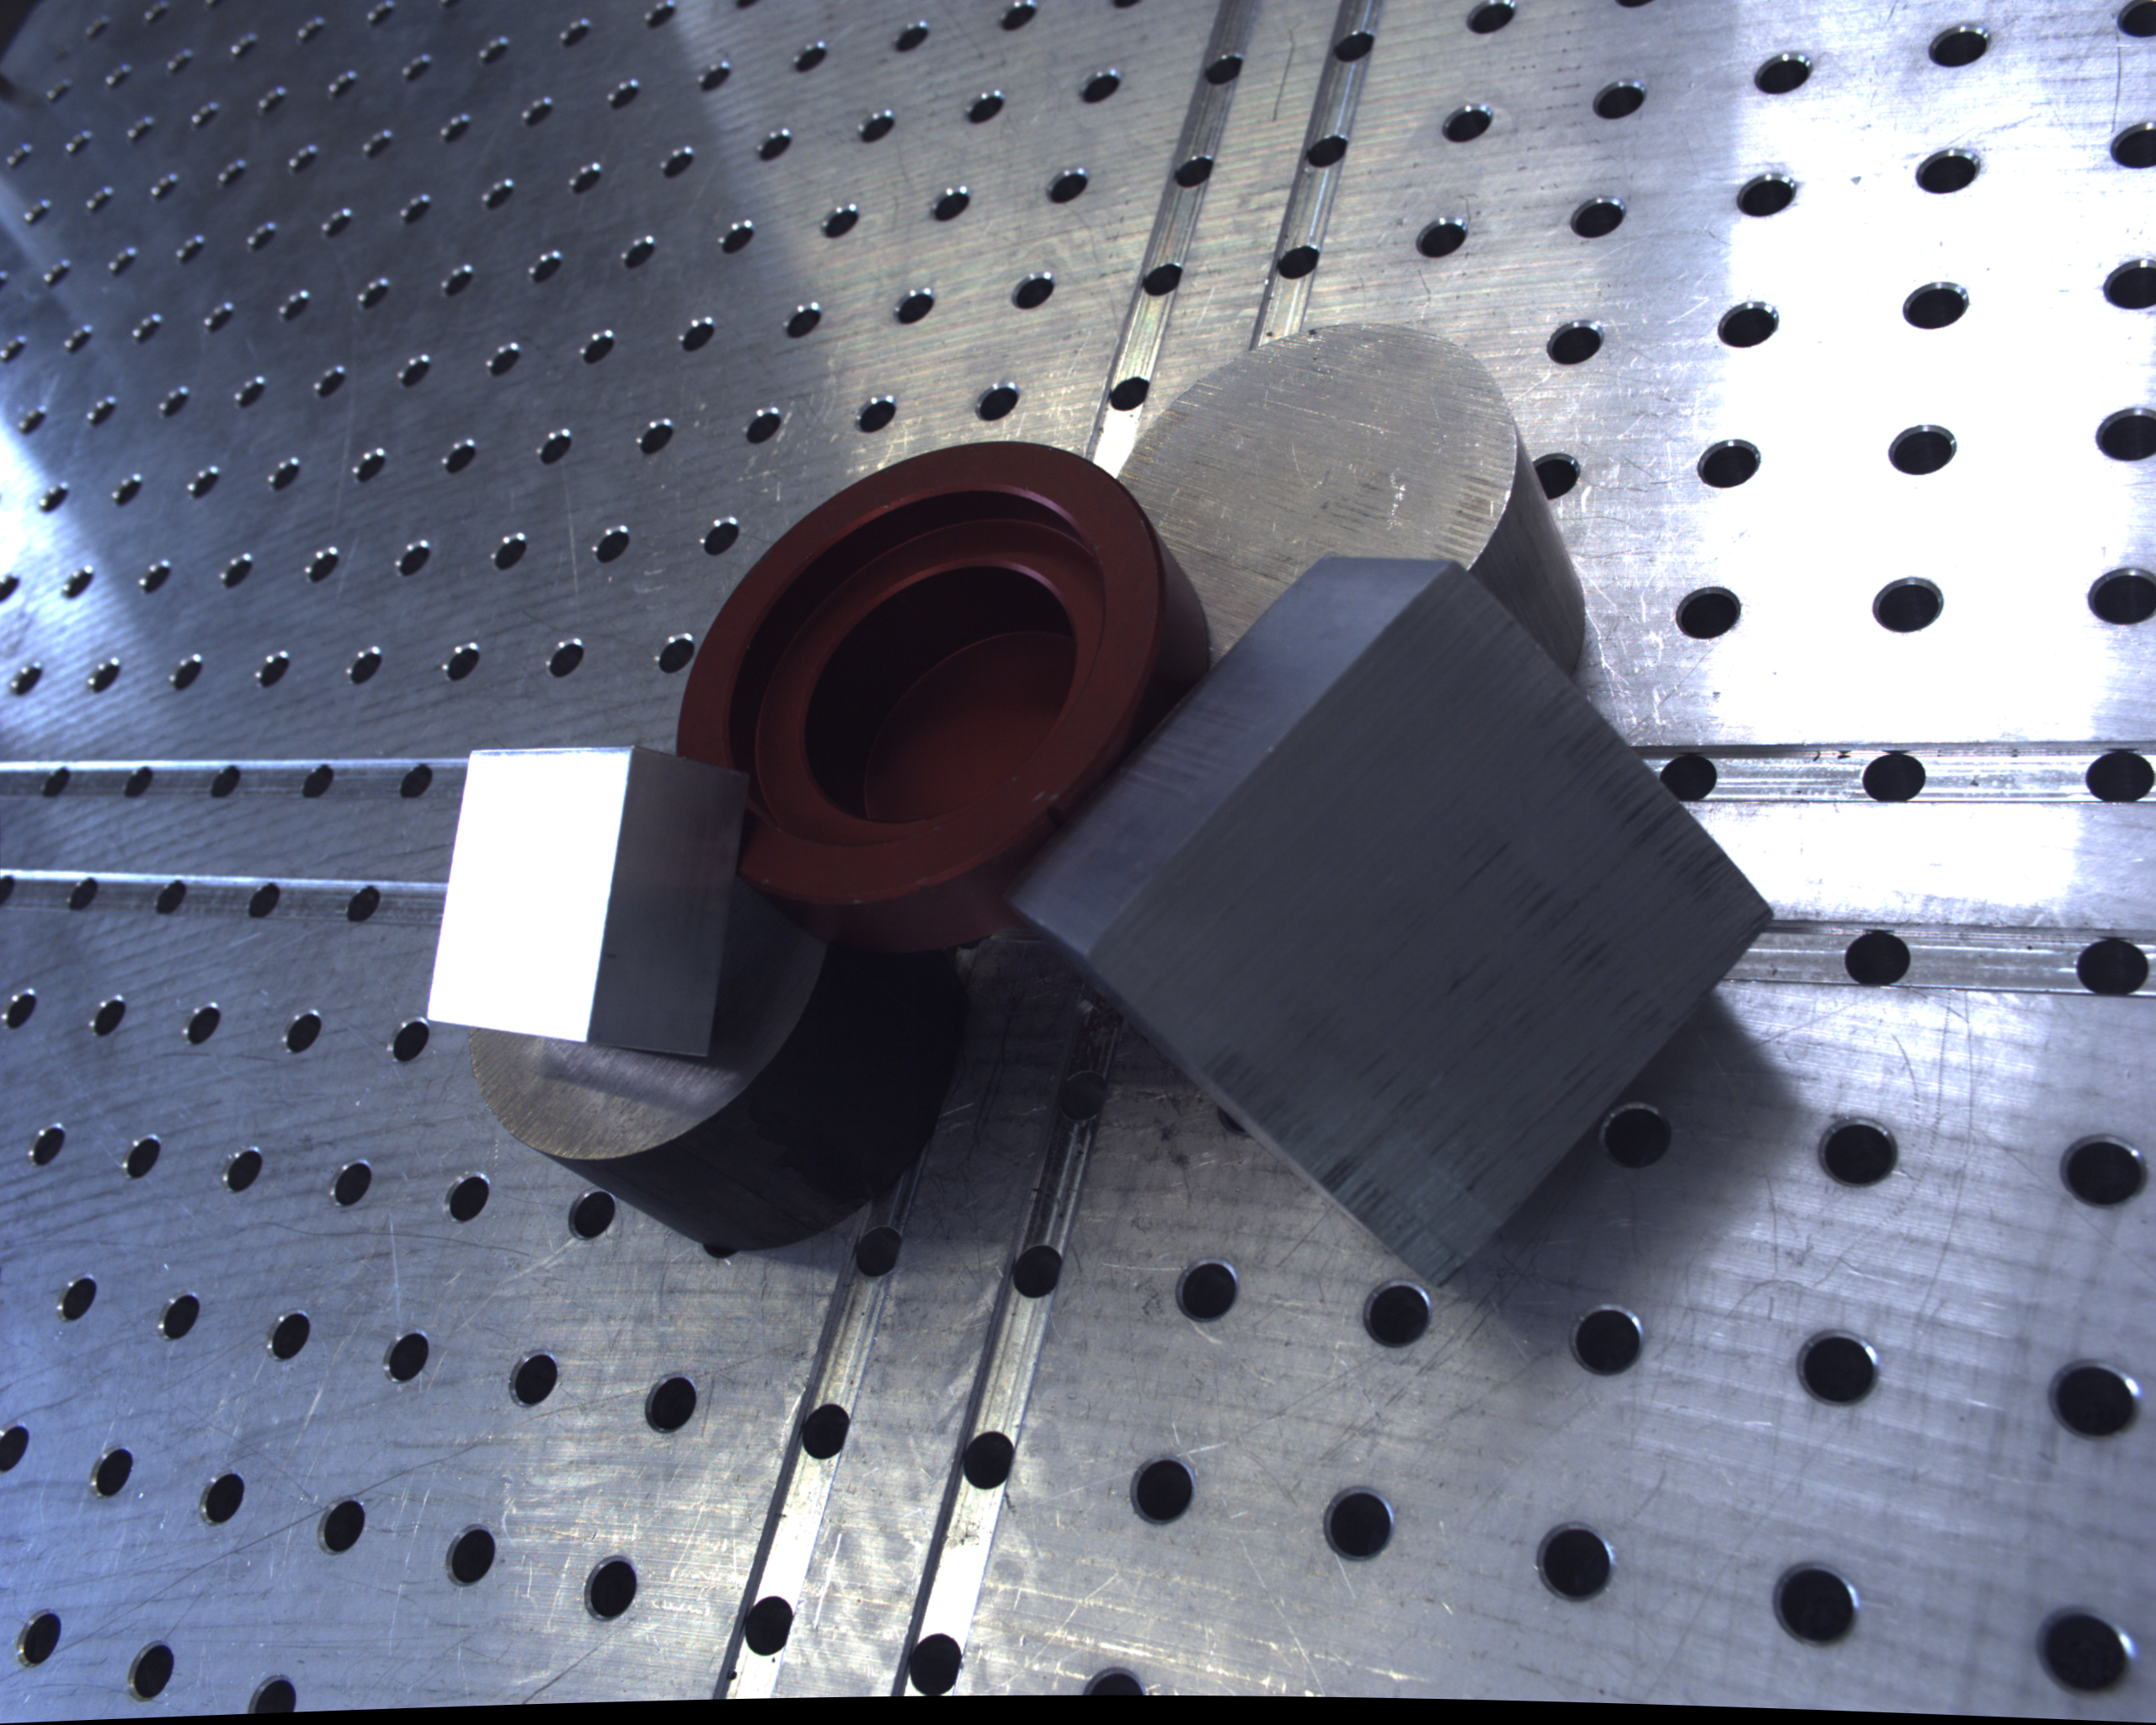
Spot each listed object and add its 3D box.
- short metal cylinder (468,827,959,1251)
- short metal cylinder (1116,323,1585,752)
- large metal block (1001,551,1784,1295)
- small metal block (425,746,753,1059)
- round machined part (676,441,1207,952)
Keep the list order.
[{"bbox_3d":[-0.071,0.030,0.411,0.080,0.050,0.080,-13,56,21],"label":"short metal cylinder"},{"bbox_3d":[0.051,-0.056,0.399,0.080,0.050,0.080,-13,56,21],"label":"short metal cylinder"},{"bbox_3d":[0.049,0.007,0.334,0.080,0.080,0.050,-47,17,-5],"label":"large metal block"},{"bbox_3d":[-0.087,0.007,0.370,0.050,0.025,0.050,2,81,42],"label":"small metal block"},{"bbox_3d":[-0.022,-0.027,0.387,0.098,0.042,0.098,-13,56,21],"label":"round machined part"}]
